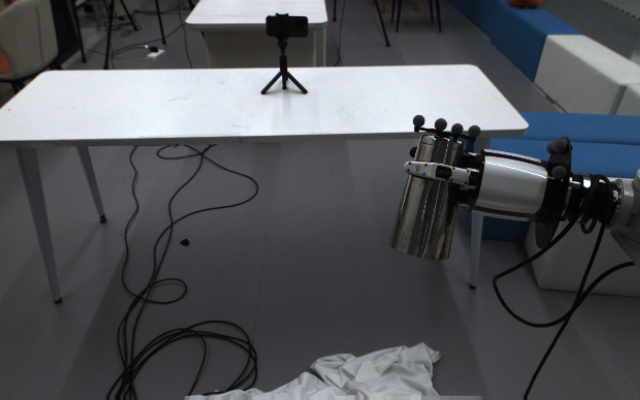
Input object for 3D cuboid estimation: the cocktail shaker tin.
[{"bbox_3d":[0.168,-0.010,0.719,0.093,0.170,0.093,10,9,-2],"label":"cocktail shaker tin"}]
